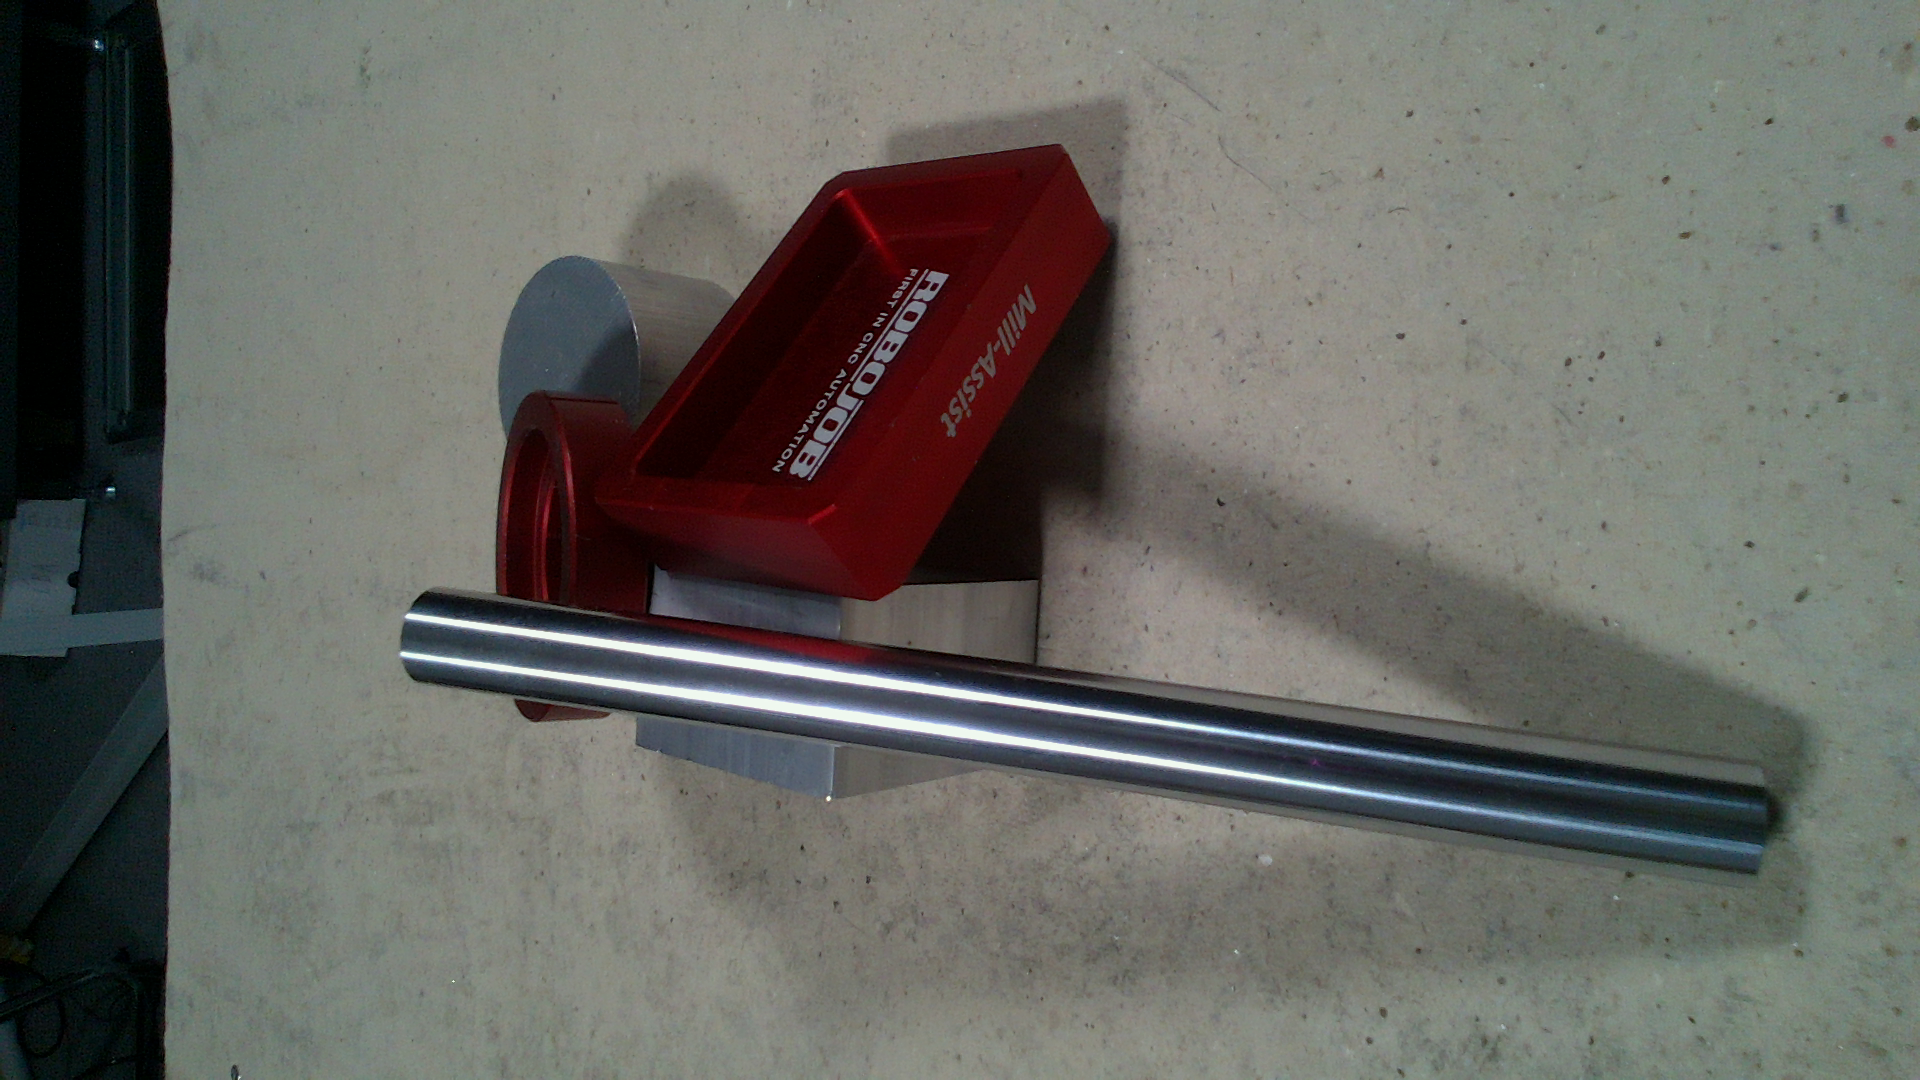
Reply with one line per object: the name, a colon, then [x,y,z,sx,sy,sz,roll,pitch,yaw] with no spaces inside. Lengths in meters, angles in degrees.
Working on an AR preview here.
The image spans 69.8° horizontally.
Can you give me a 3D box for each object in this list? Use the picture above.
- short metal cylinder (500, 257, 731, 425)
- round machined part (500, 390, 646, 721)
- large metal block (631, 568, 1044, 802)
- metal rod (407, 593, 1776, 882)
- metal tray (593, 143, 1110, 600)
short metal cylinder: [-0.114,-0.054,0.475,0.080,0.050,0.080,0,90,40]
round machined part: [-0.109,0.005,0.418,0.098,0.042,0.098,-3,86,60]
large metal block: [-0.034,0.035,0.387,0.080,0.080,0.050,6,94,40]
metal rod: [0.012,0.040,0.308,0.299,0.025,0.025,6,94,16]
metal tray: [-0.028,-0.048,0.365,0.090,0.030,0.130,6,54,40]
